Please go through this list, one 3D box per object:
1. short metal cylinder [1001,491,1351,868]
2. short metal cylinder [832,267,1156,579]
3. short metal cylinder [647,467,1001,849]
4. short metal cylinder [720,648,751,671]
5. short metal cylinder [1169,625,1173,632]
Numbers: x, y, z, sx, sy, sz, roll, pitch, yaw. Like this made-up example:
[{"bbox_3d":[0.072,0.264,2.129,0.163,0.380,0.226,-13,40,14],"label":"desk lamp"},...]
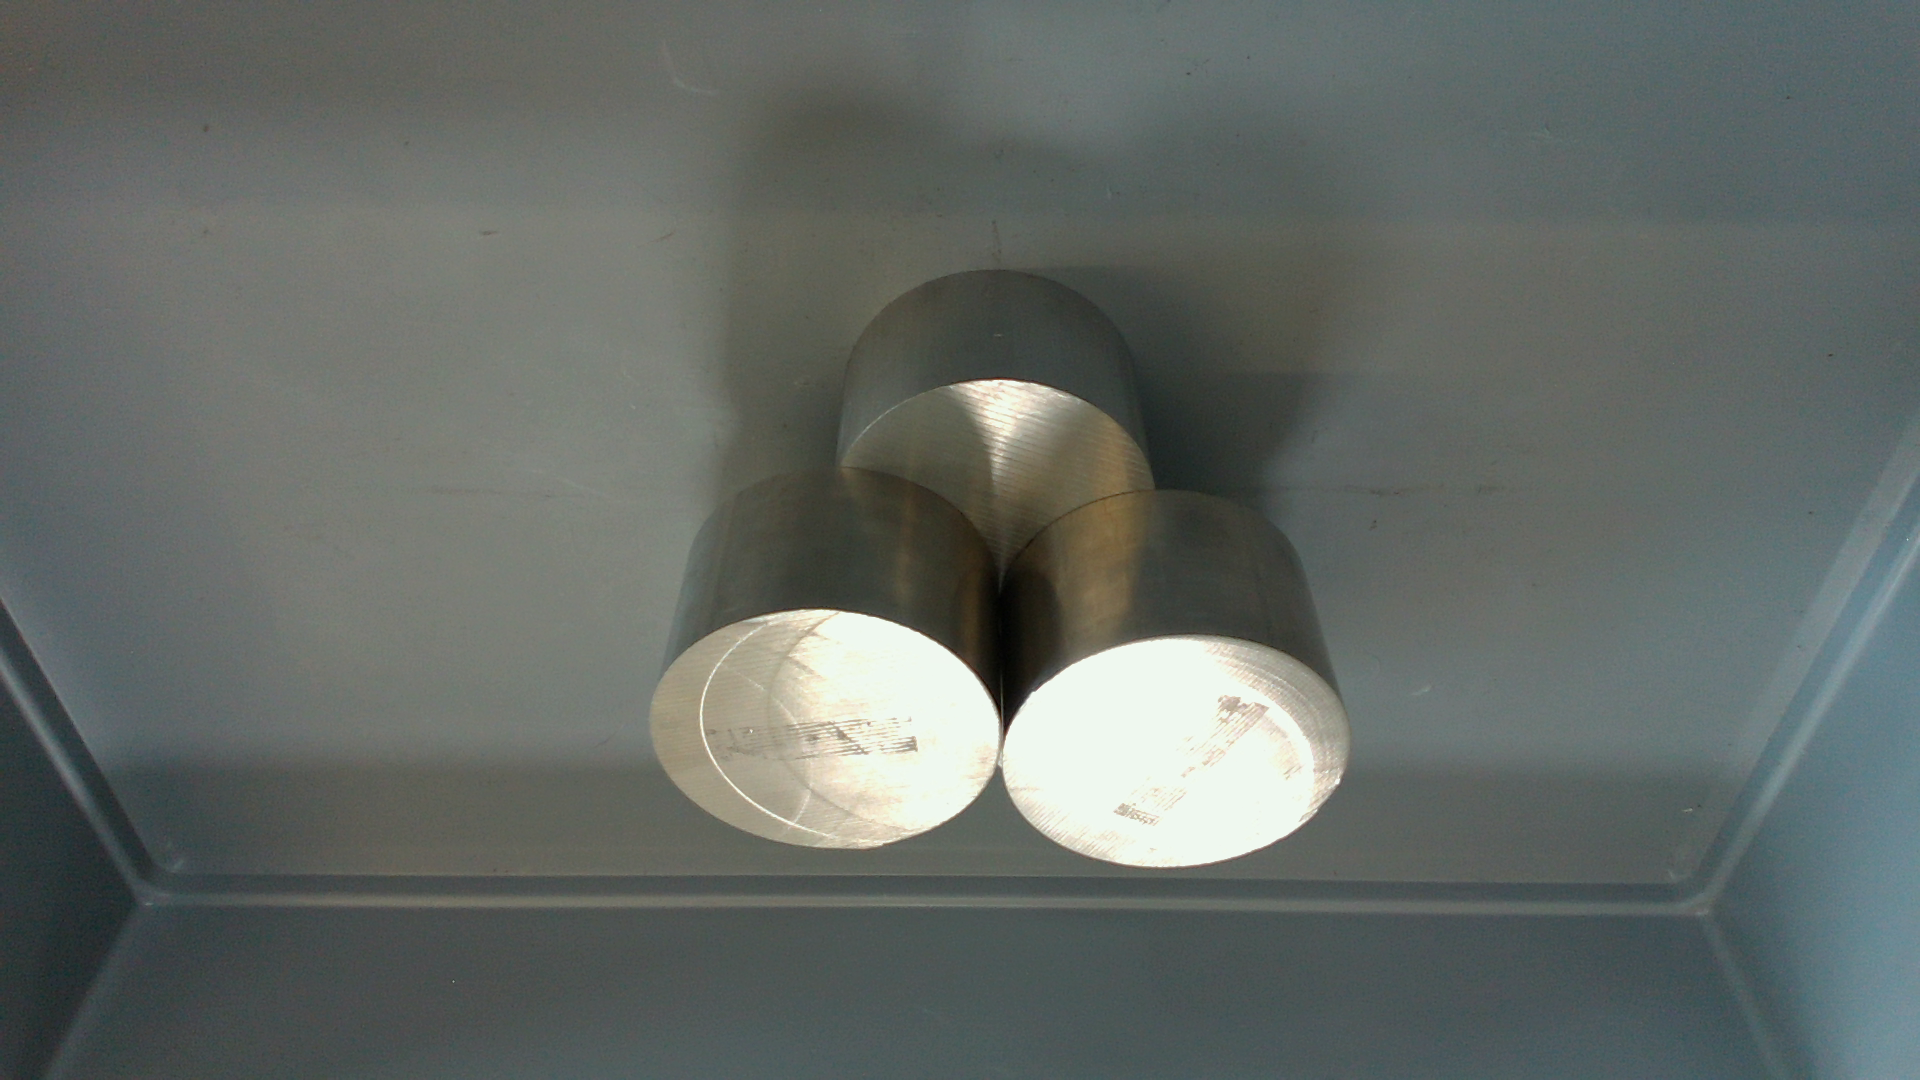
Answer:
[{"bbox_3d":[0.050,0.035,0.336,0.080,0.050,0.080,0,130,0],"label":"short metal cylinder"},{"bbox_3d":[0.008,-0.022,0.354,0.080,0.050,0.080,0,130,0],"label":"short metal cylinder"},{"bbox_3d":[-0.031,0.029,0.332,0.080,0.050,0.080,0,130,0],"label":"short metal cylinder"},{"bbox_3d":[-0.037,0.029,0.397,0.080,0.050,0.080,0,130,0],"label":"short metal cylinder"},{"bbox_3d":[0.045,0.033,0.401,0.080,0.050,0.080,0,130,0],"label":"short metal cylinder"}]
